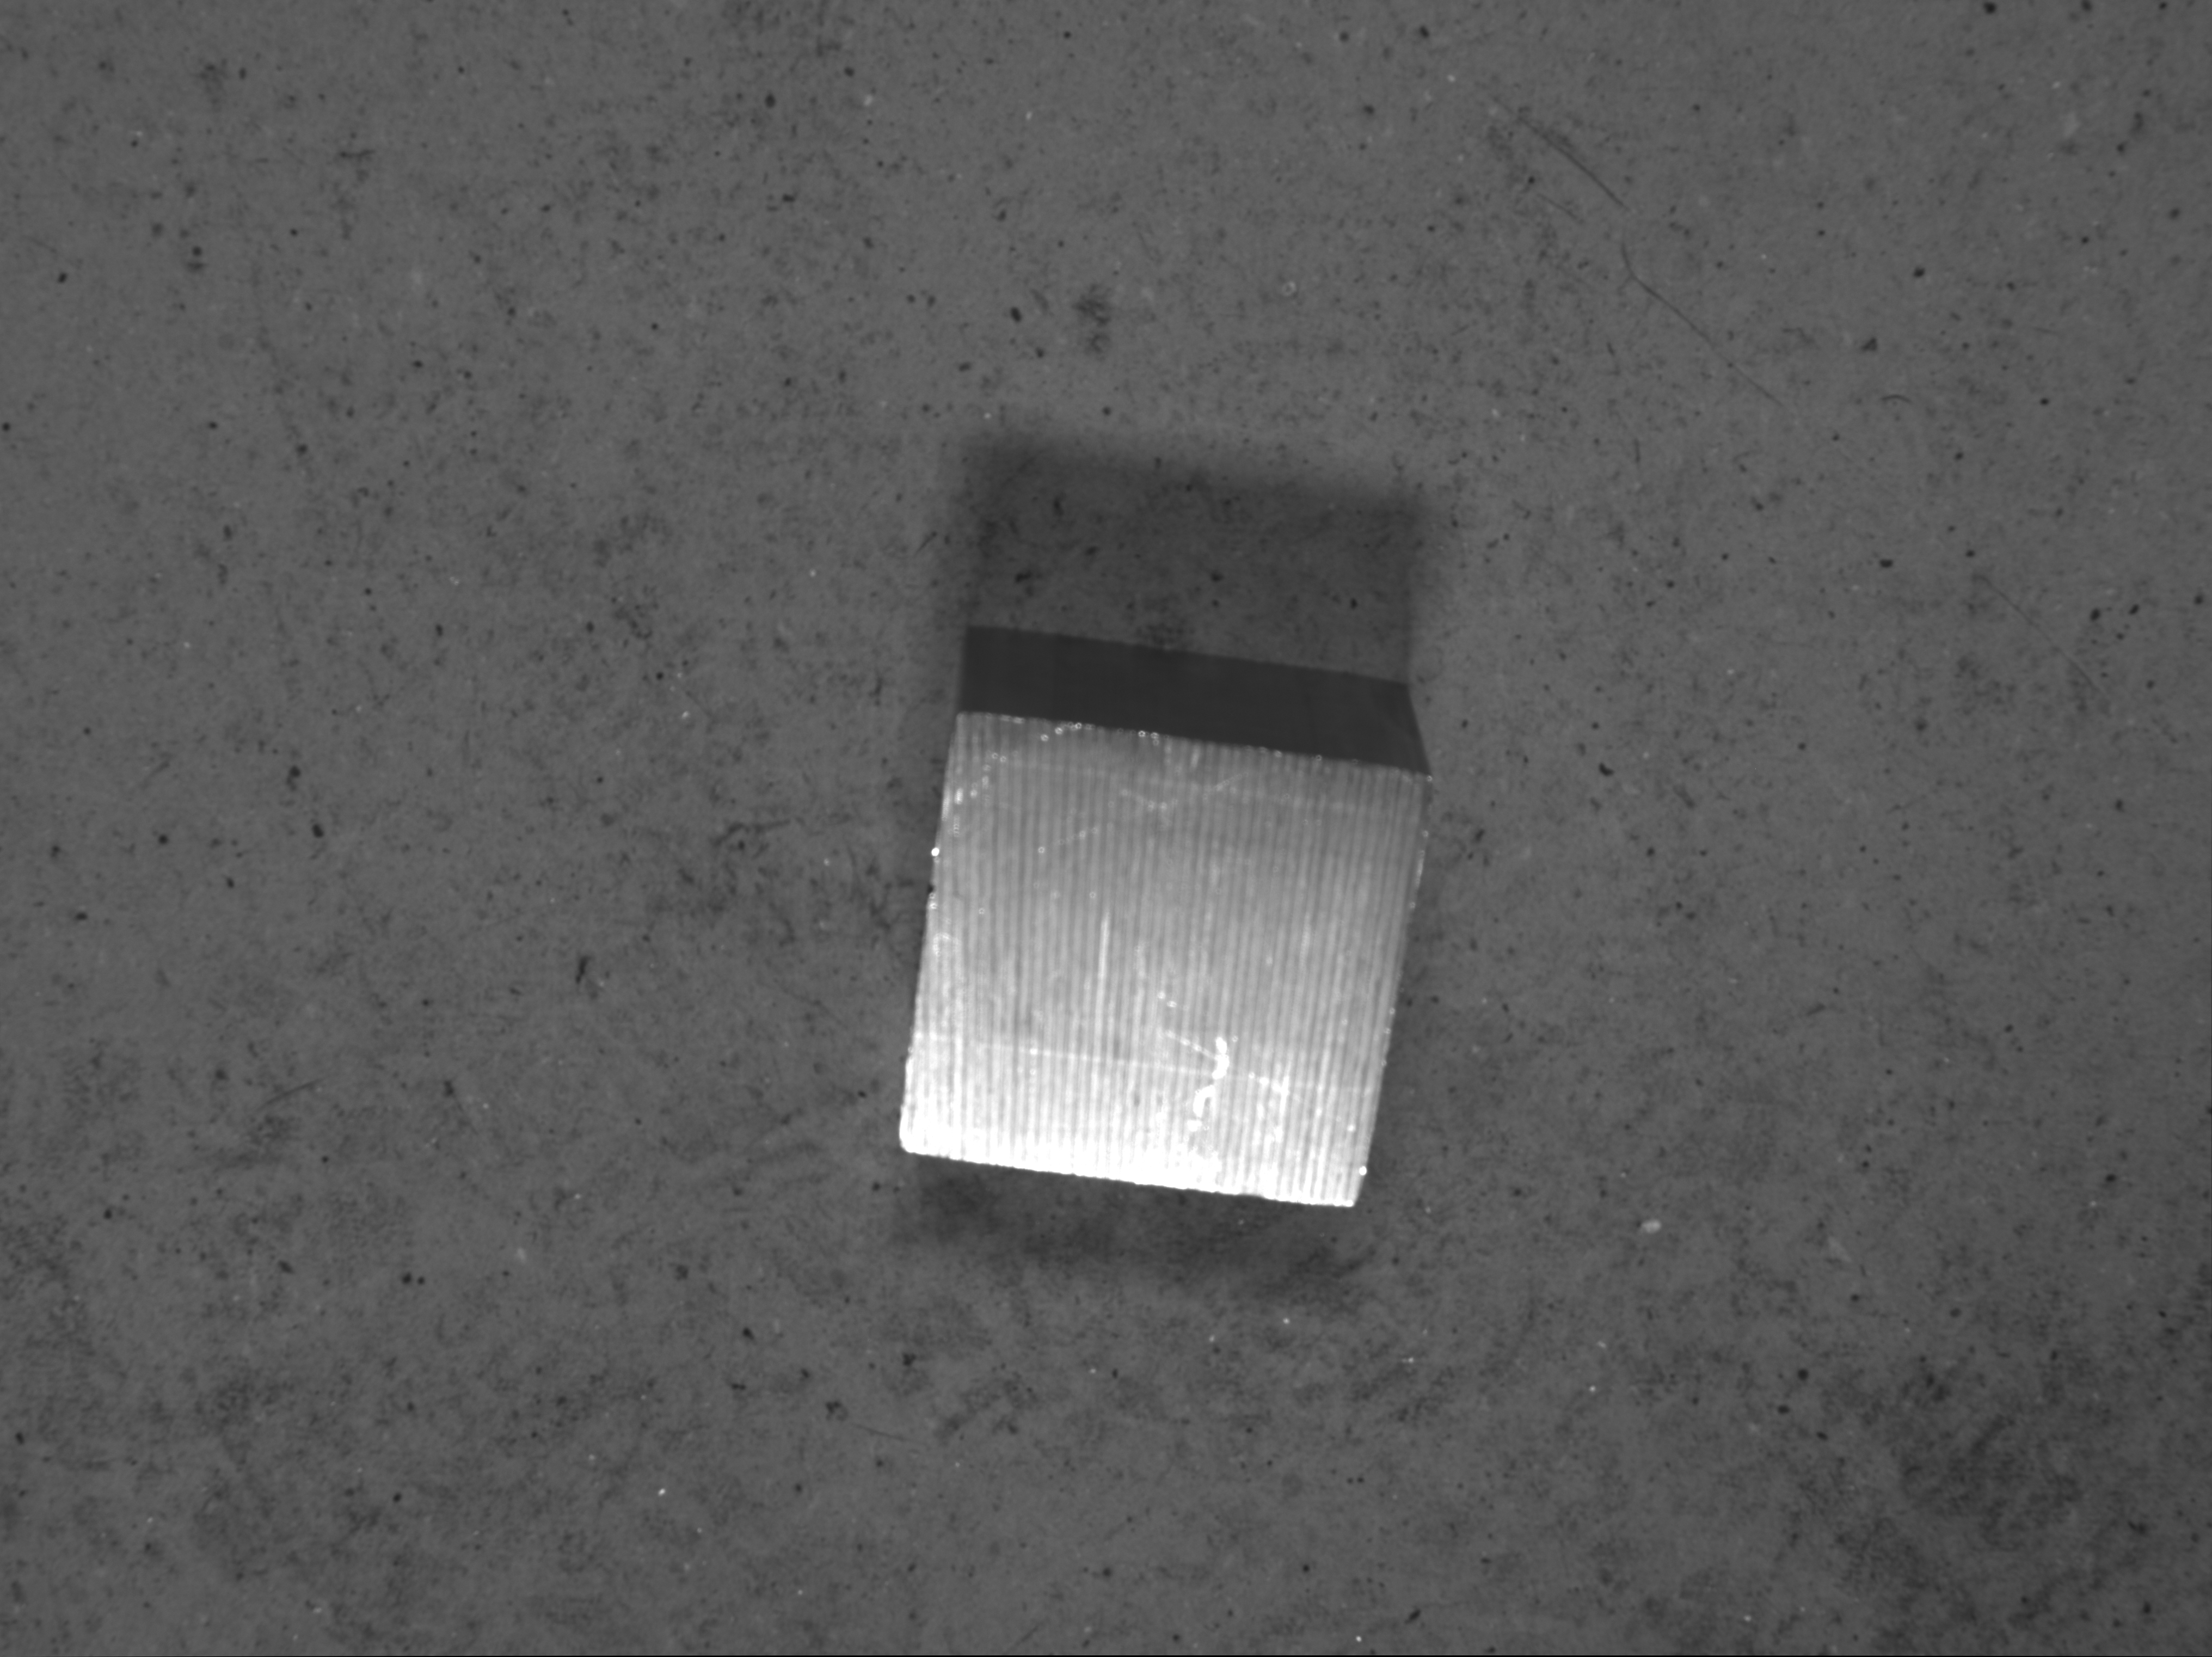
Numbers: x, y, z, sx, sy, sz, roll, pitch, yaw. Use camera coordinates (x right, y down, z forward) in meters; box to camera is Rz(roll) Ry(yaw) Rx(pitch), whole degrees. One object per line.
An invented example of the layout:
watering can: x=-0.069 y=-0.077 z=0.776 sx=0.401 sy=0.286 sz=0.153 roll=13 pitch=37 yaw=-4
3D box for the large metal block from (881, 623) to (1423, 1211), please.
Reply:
large metal block: x=0.007 y=0.015 z=0.635 sx=0.080 sy=0.050 sz=0.080 roll=7 pitch=110 yaw=-3
